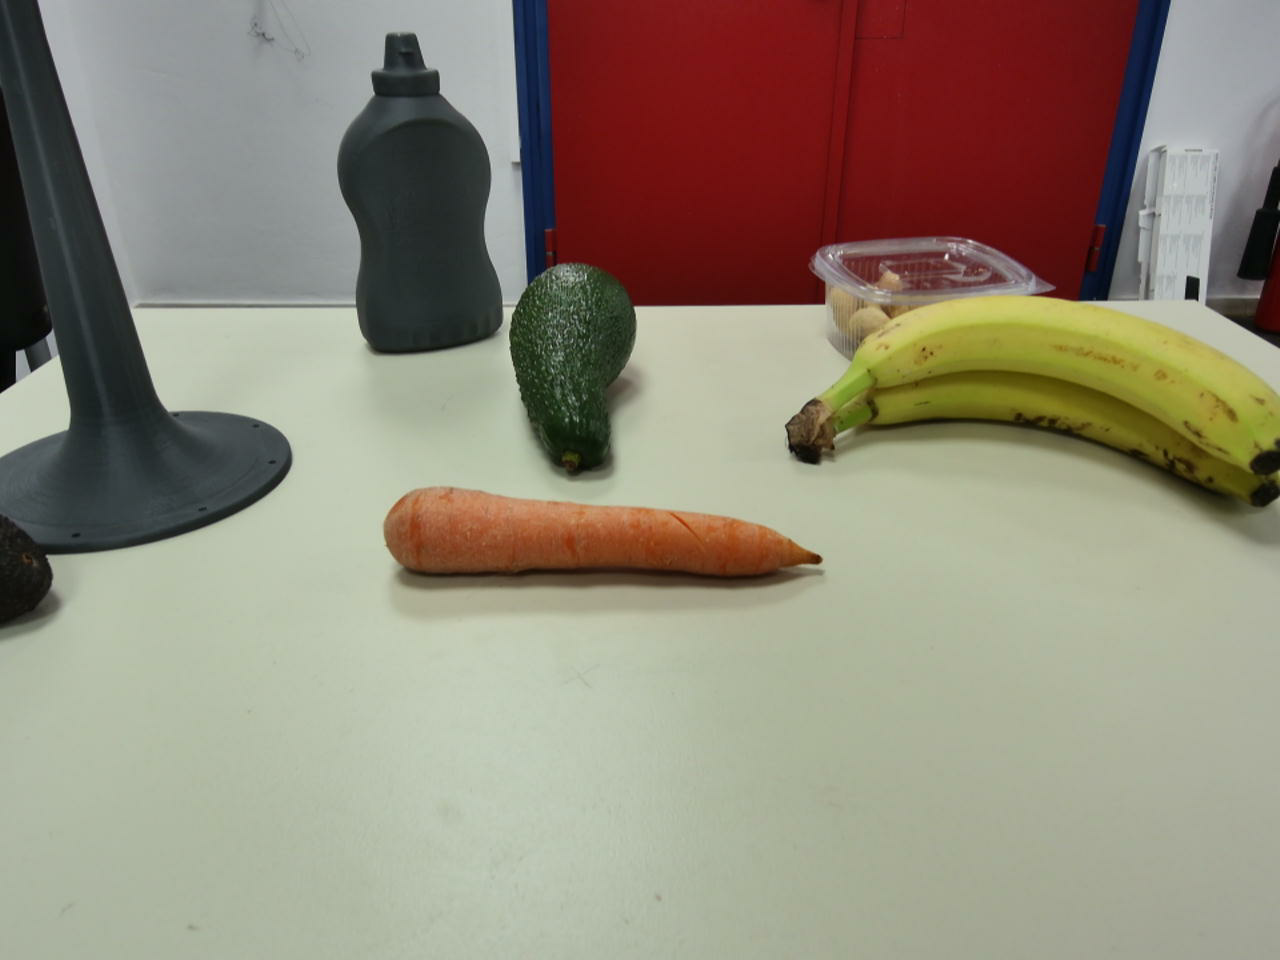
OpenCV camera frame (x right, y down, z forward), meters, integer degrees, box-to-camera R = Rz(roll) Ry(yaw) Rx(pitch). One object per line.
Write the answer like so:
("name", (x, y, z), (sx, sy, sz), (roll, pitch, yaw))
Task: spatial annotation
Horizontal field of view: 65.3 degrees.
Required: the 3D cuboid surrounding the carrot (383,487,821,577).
("carrot", (-0.016, 0.023, 0.448), (0.196, 0.041, 0.039), (0, 25, 0))
